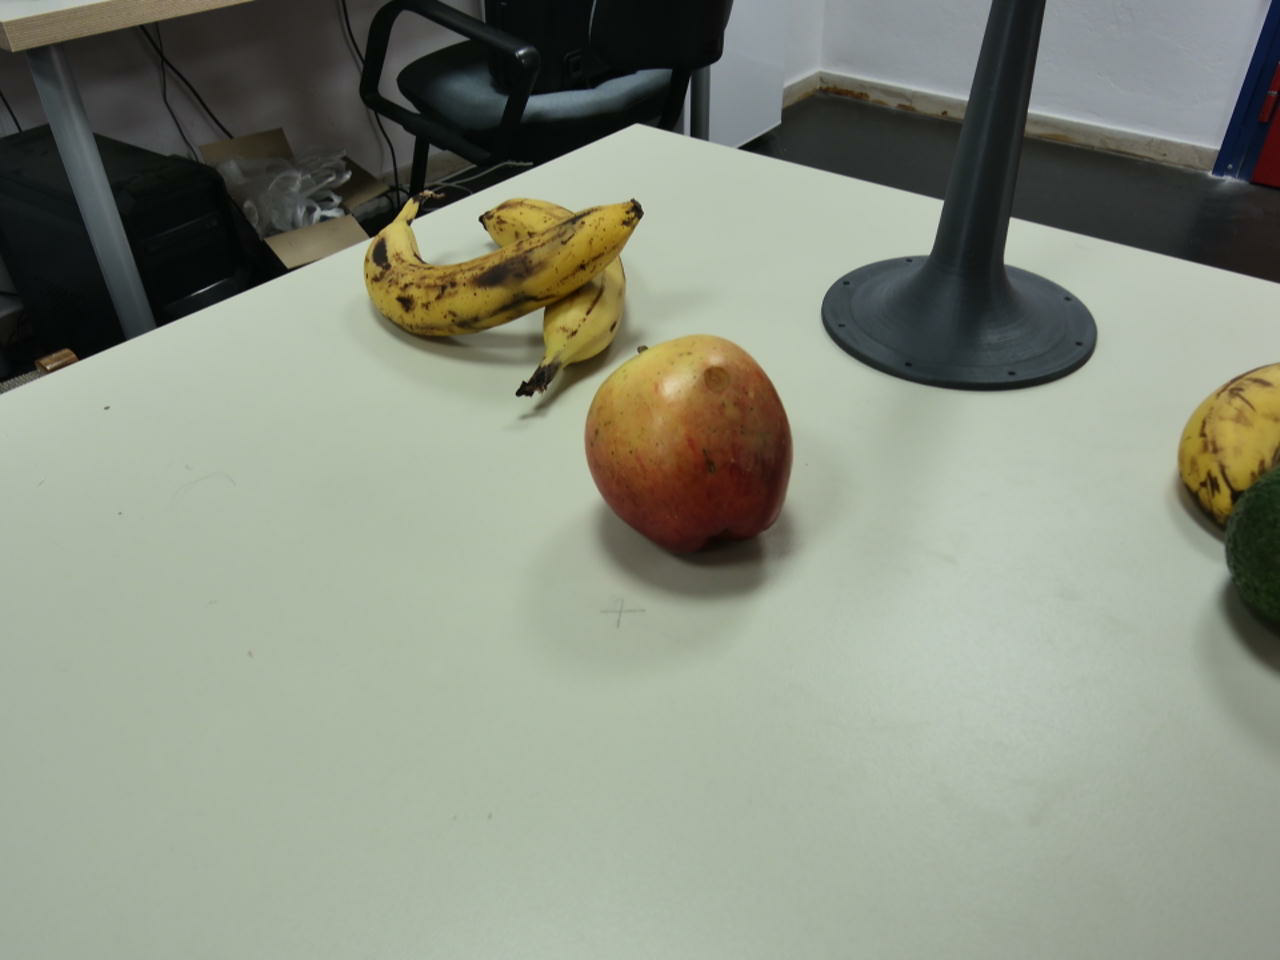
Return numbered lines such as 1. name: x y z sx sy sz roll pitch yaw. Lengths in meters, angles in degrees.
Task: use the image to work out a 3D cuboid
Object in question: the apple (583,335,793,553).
1. apple: 0.020 -0.017 0.416 0.086 0.084 0.093 1 36 4
